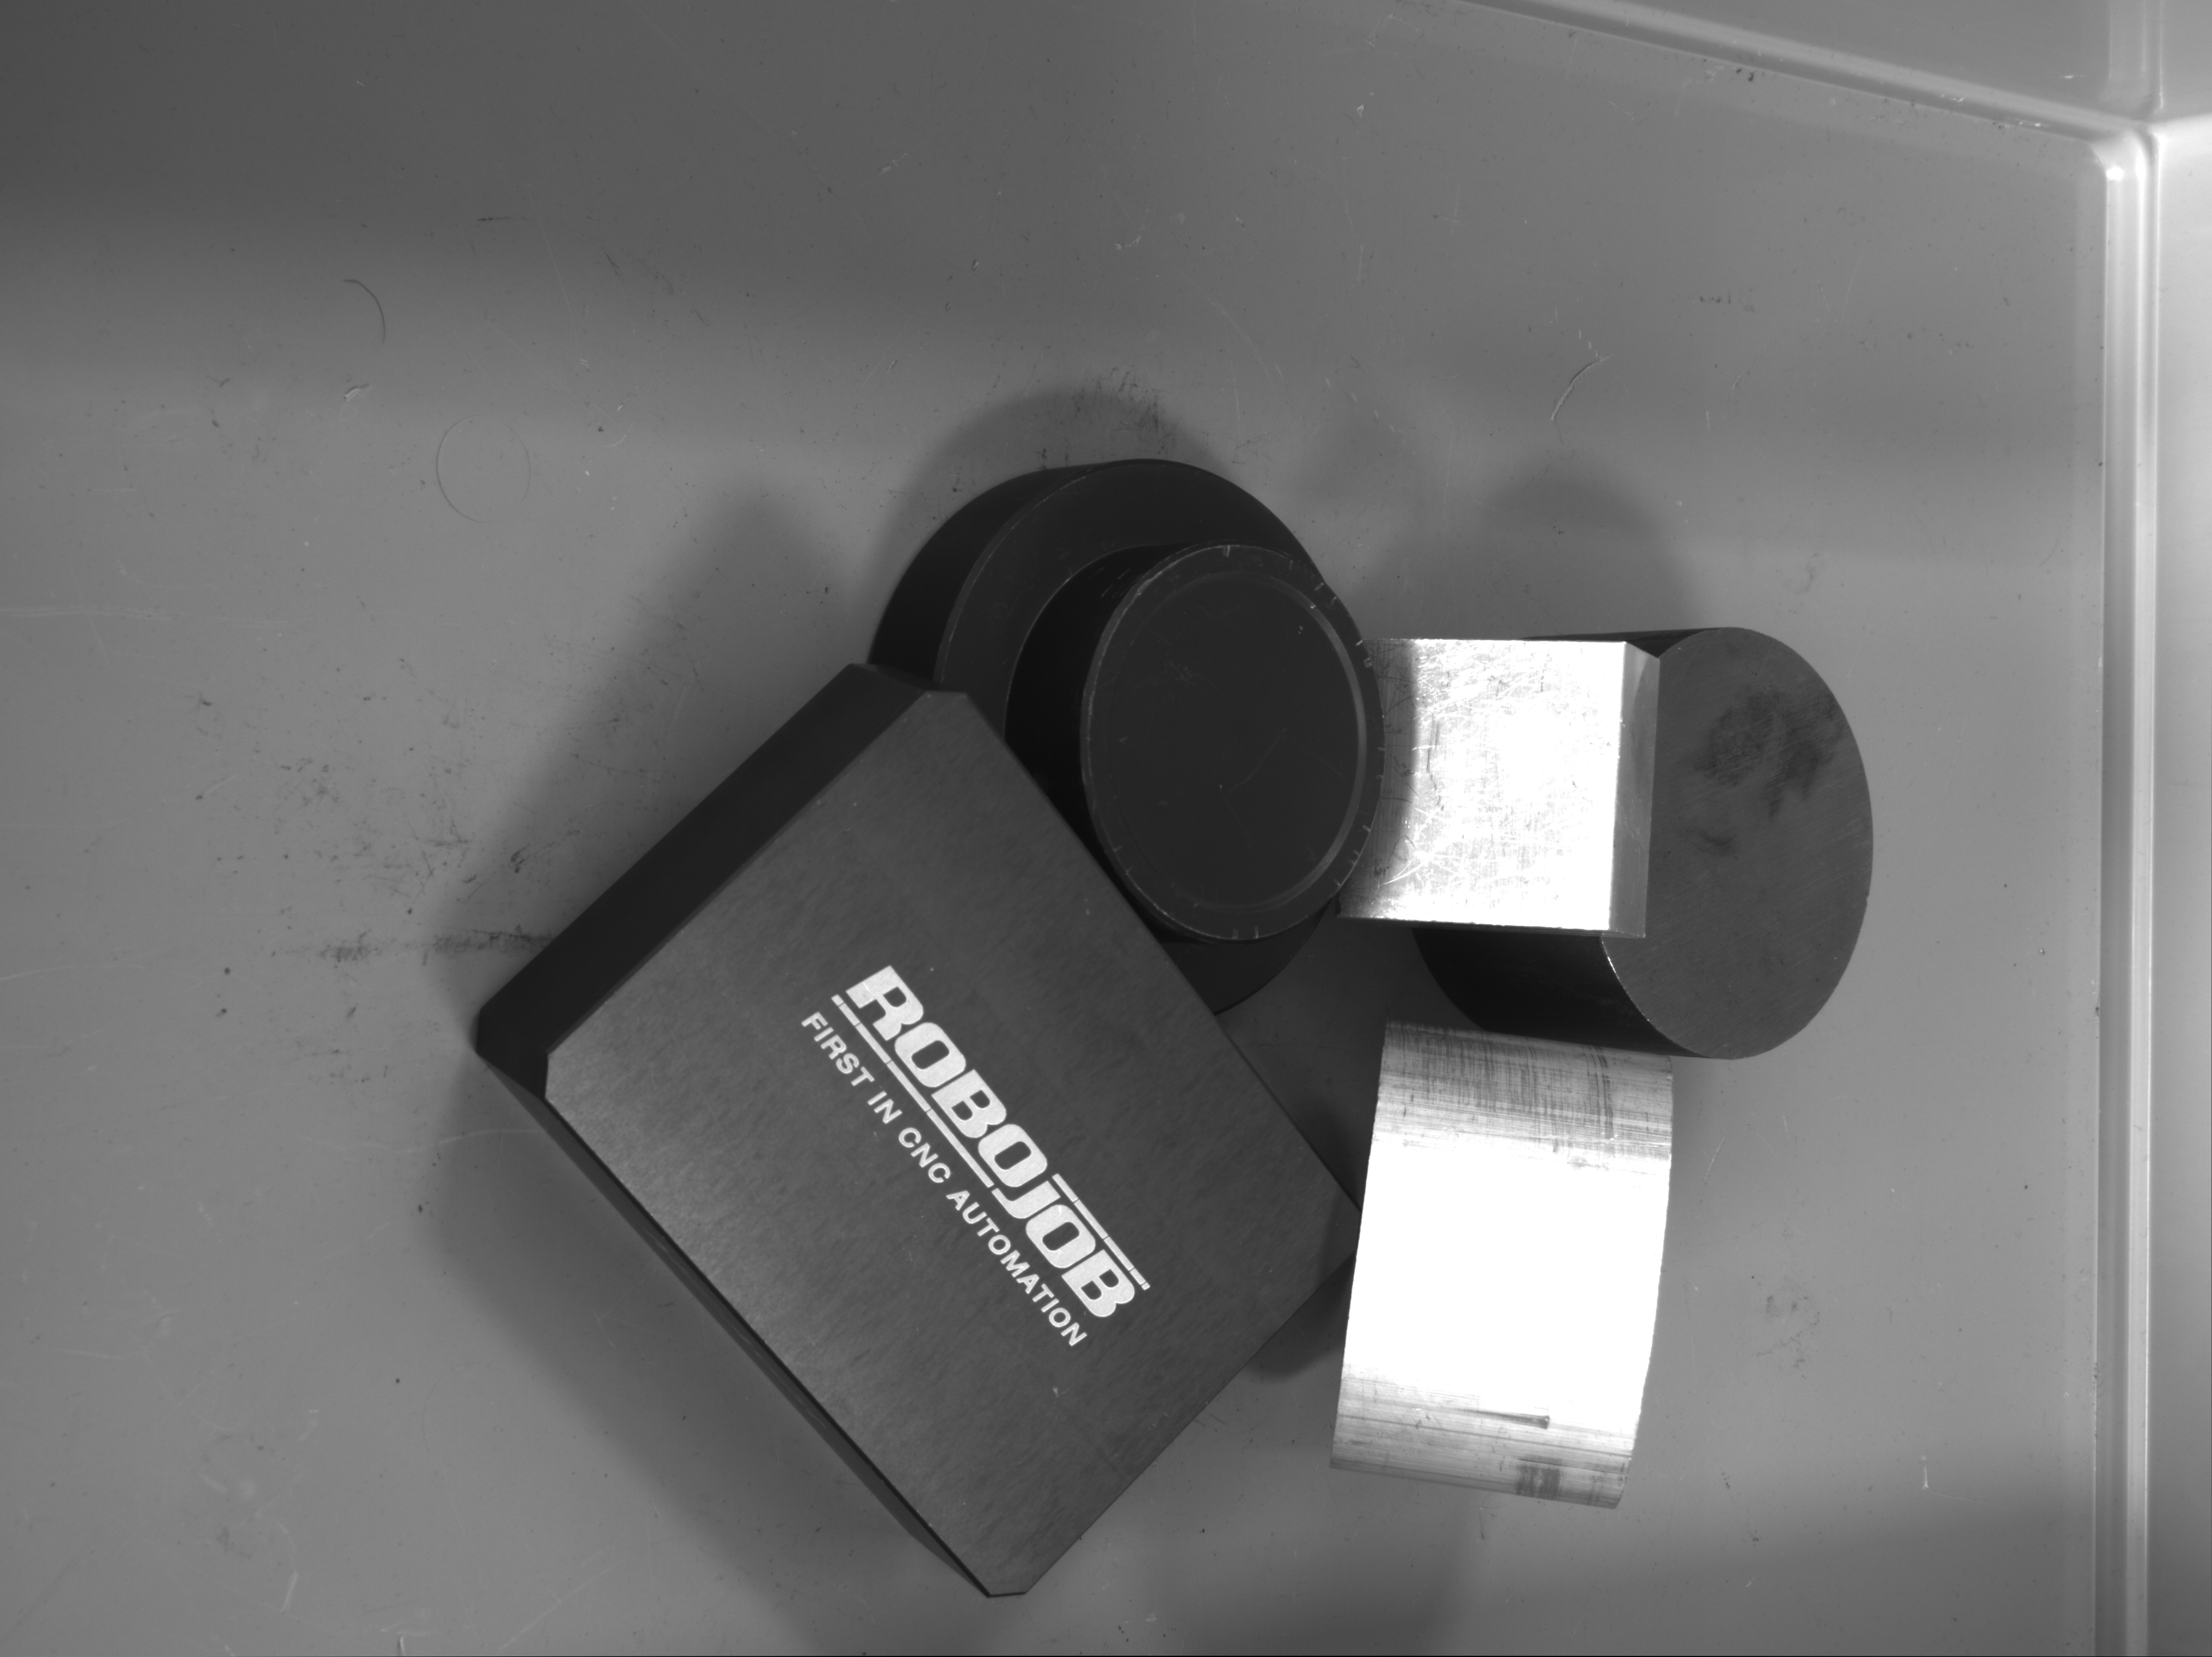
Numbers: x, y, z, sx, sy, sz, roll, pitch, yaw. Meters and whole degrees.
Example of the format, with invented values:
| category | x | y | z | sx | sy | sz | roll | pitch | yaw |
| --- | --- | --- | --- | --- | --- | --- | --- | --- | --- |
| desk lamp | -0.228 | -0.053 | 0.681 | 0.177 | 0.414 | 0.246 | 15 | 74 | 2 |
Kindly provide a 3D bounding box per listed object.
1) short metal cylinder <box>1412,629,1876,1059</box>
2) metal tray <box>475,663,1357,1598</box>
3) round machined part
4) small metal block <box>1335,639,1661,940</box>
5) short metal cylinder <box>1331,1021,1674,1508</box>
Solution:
| category | x | y | z | sx | sy | sz | roll | pitch | yaw |
| --- | --- | --- | --- | --- | --- | --- | --- | --- | --- |
| short metal cylinder | 0.102 | 0.003 | 0.703 | 0.080 | 0.050 | 0.080 | 0 | 90 | -40 |
| metal tray | -0.027 | 0.050 | 0.594 | 0.090 | 0.030 | 0.130 | -44 | 118 | -14 |
| round machined part | 0.010 | -0.015 | 0.631 | 0.098 | 0.042 | 0.098 | 0 | 90 | -40 |
| small metal block | 0.070 | -0.007 | 0.653 | 0.025 | 0.050 | 0.050 | 13 | 79 | -67 |
| short metal cylinder | 0.069 | 0.077 | 0.648 | 0.050 | 0.080 | 0.080 | 7 | 84 | 4 |
